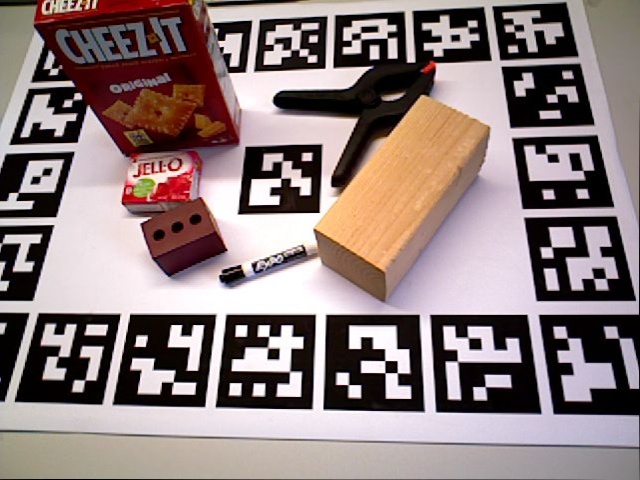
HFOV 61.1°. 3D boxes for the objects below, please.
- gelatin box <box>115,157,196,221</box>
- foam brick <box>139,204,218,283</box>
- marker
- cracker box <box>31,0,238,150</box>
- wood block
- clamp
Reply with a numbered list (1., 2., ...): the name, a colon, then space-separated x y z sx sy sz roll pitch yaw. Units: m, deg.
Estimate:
1. gelatin box: -0.202 -0.063 0.668 0.089 0.030 0.072 -2 67 6
2. foam brick: -0.165 0.005 0.618 0.077 0.052 0.052 -23 66 -4
3. marker: -0.076 0.037 0.608 0.120 0.020 0.019 -19 66 -2
4. cracker box: -0.193 -0.197 0.617 0.164 0.217 0.071 -3 63 2
5. wood block: 0.085 -0.037 0.589 0.090 0.092 0.203 32 70 22
6. clamp: 0.053 -0.162 0.675 0.201 0.037 0.164 -29 66 -6
